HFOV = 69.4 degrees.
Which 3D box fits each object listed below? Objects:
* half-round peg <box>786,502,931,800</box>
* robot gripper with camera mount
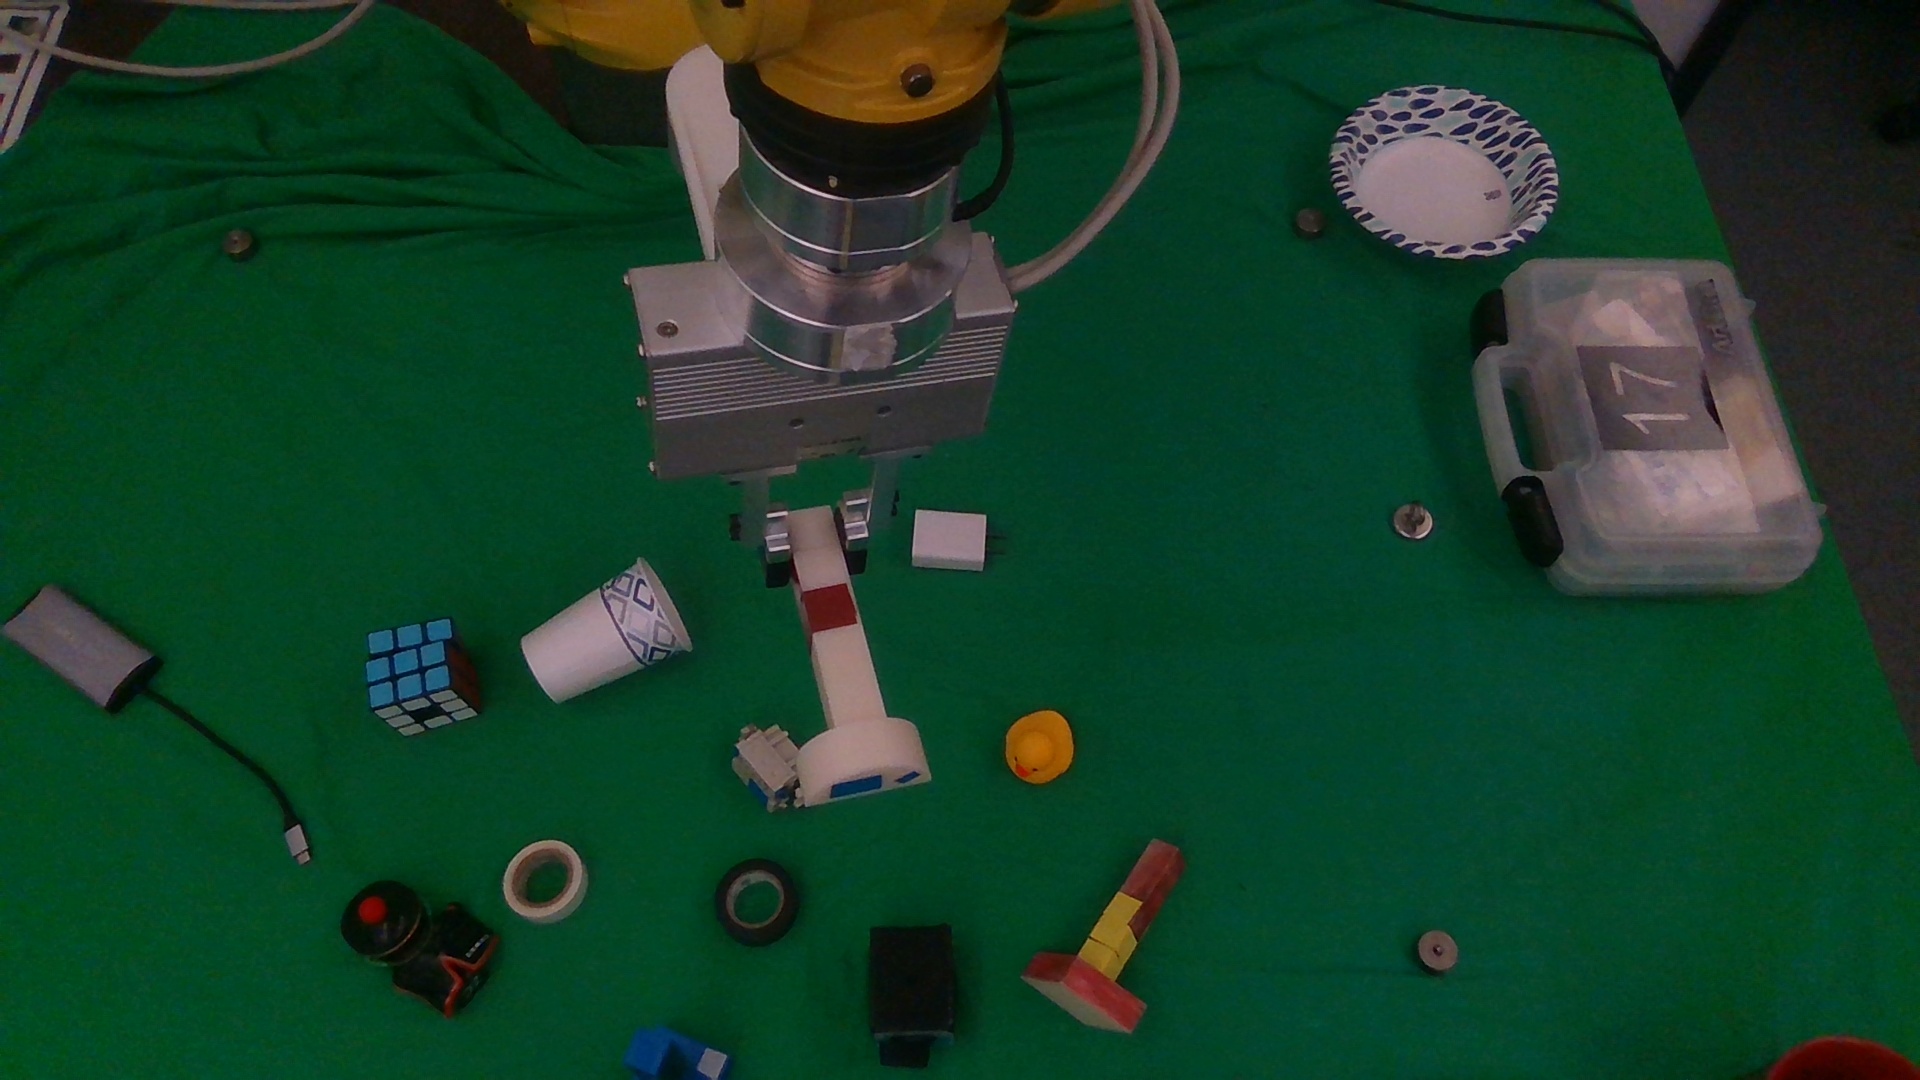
[{"bbox_3d":[-0.049,0.039,0.547,0.054,0.031,0.122,-7,58,-14],"label":"half-round peg"},{"bbox_3d":[-0.077,-0.111,0.555,0.119,0.159,0.193,-10,59,-15],"label":"robot gripper with camera mount"}]
